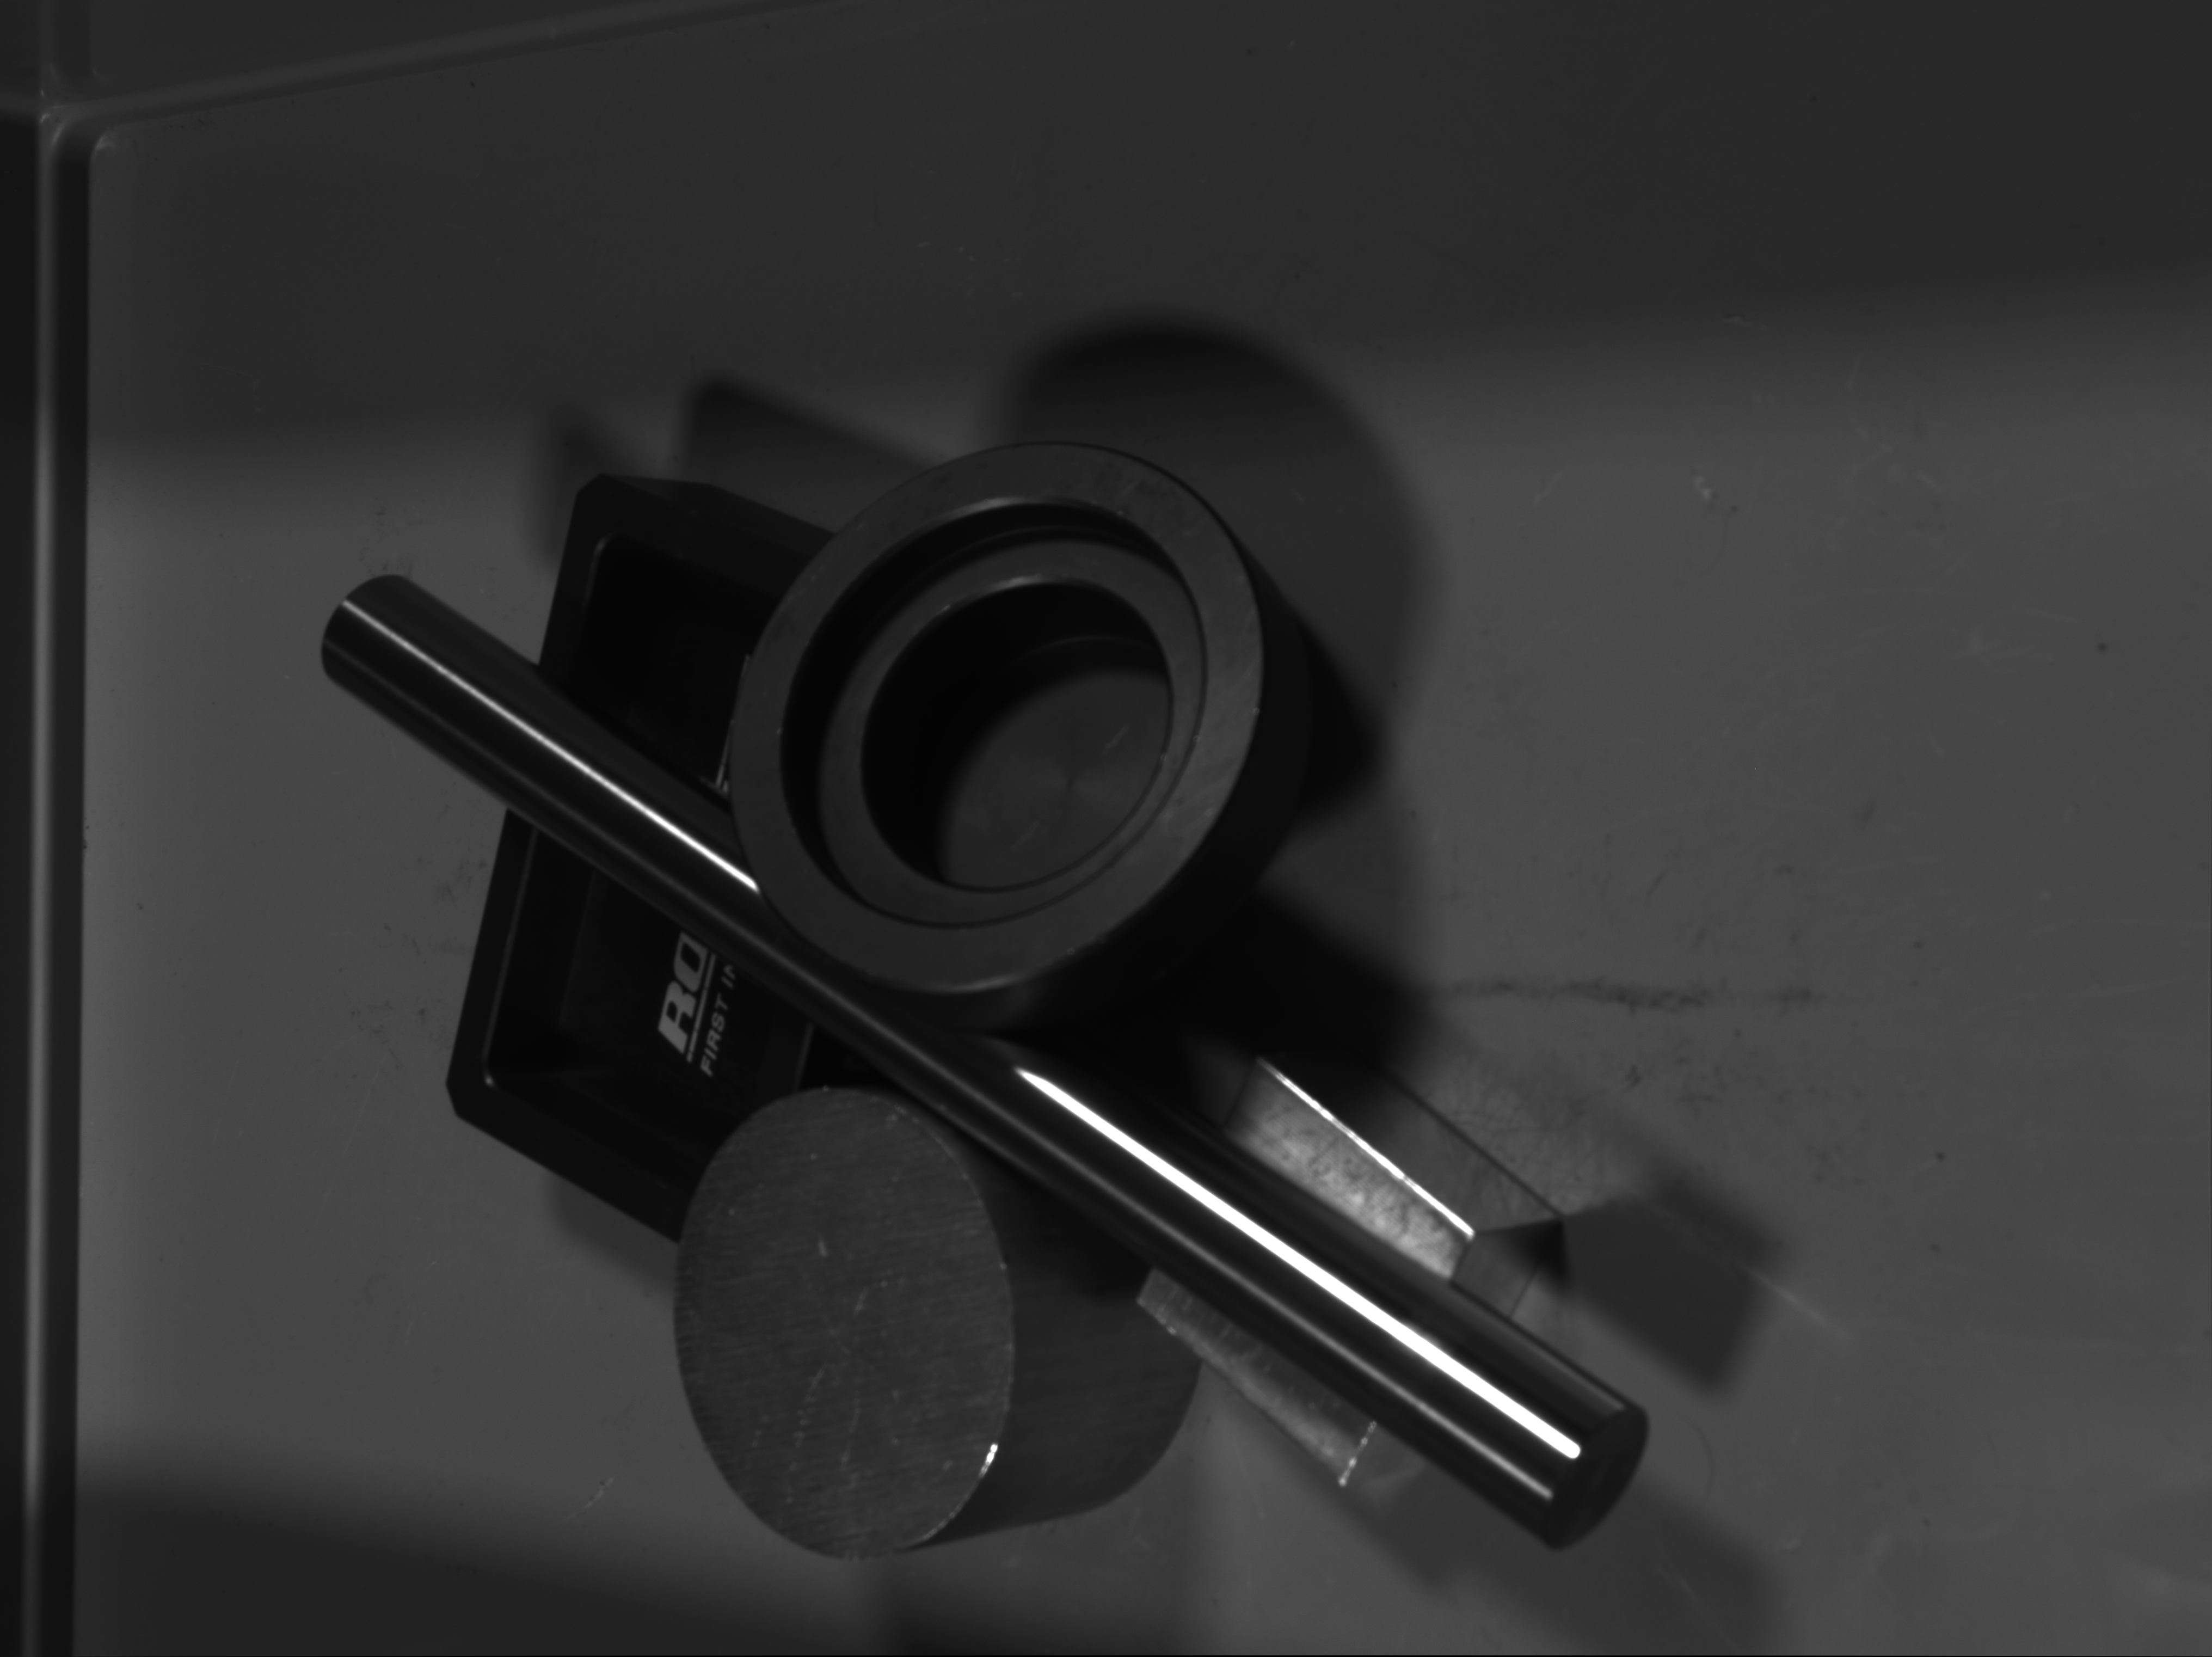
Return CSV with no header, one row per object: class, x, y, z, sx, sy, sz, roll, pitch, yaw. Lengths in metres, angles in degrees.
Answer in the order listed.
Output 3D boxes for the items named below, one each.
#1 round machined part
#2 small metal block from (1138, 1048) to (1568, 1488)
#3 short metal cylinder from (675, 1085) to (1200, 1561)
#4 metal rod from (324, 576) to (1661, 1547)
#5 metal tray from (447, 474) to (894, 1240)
round machined part,-0.010,-0.012,0.616,0.098,0.042,0.098,-10,64,22
small metal block,0.040,0.071,0.602,0.050,0.025,0.050,38,113,33
short metal cylinder,-0.029,0.084,0.642,0.080,0.050,0.080,0,90,39
metal rod,-0.033,0.029,0.624,0.299,0.025,0.025,32,109,32
metal tray,-0.073,0.007,0.690,0.090,0.030,0.130,23,104,37
